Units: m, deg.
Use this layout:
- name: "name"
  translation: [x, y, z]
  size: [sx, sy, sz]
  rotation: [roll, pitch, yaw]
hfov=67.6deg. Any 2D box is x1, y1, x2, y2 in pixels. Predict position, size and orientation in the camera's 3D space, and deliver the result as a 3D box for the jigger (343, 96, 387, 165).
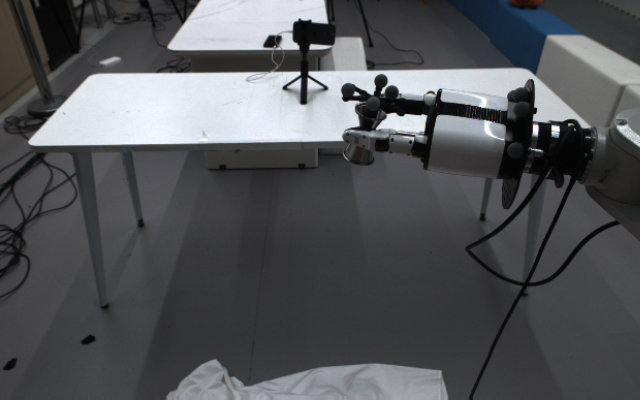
- name: "jigger"
  translation: [0.059, -0.086, 0.636]
  size: [0.043, 0.071, 0.043]
  rotation: [10, 36, -7]
